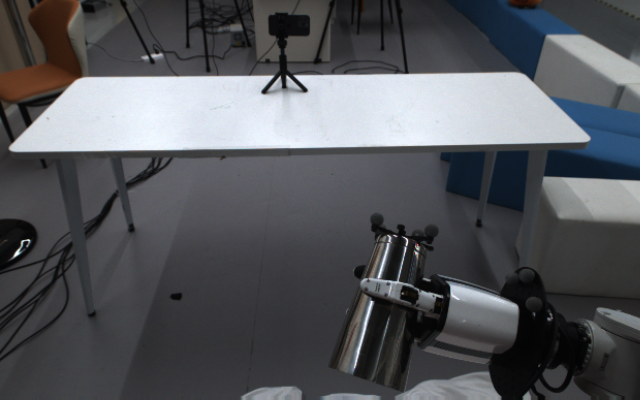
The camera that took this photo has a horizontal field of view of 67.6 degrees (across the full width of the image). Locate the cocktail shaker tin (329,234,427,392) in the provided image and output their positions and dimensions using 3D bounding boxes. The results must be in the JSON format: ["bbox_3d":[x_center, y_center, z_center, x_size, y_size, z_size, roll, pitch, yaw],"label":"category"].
[{"bbox_3d":[0.079,0.132,0.586,0.093,0.093,0.170,12,70,15],"label":"cocktail shaker tin"}]
